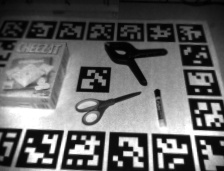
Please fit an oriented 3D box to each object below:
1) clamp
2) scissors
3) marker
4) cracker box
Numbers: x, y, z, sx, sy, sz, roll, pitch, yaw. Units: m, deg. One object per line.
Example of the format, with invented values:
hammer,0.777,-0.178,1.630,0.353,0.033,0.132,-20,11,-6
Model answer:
clamp,0.044,-0.112,0.740,0.201,0.037,0.166,28,59,18
scissors,-0.016,0.039,0.631,0.204,0.016,0.087,-22,57,-16
marker,0.126,0.045,0.623,0.019,0.020,0.120,-1,55,1
cracker box,-0.245,-0.047,0.664,0.164,0.072,0.213,3,56,3
